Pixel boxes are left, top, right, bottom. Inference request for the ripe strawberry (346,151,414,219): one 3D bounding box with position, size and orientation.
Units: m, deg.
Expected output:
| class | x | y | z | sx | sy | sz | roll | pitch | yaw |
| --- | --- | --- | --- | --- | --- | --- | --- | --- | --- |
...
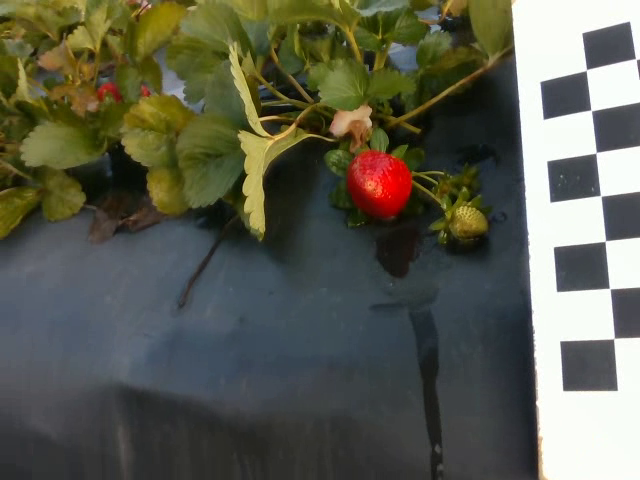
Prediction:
| class | x | y | z | sx | sy | sz | roll | pitch | yaw |
| --- | --- | --- | --- | --- | --- | --- | --- | --- | --- |
| ripe strawberry | 0.037 | -0.035 | 0.376 | 0.043 | 0.052 | 0.057 | -35 | -1 | 19 |
